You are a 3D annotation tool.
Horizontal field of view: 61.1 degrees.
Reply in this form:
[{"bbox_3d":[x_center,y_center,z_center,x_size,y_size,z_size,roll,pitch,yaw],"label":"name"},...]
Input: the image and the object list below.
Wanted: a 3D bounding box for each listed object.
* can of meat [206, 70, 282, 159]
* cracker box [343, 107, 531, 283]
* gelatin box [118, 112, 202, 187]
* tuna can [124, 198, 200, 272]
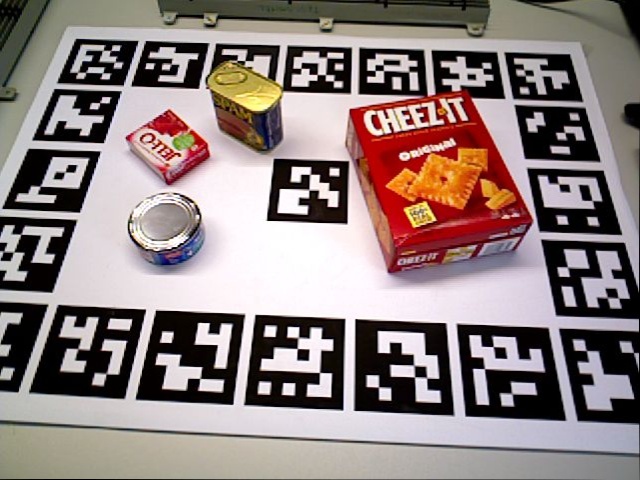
[{"bbox_3d":[-0.100,-0.167,0.736,0.102,0.085,0.056,29,60,18],"label":"can of meat"},{"bbox_3d":[0.136,-0.064,0.677,0.162,0.073,0.211,-10,57,-9],"label":"cracker box"},{"bbox_3d":[-0.214,-0.124,0.731,0.089,0.031,0.072,41,63,20],"label":"gelatin box"},{"bbox_3d":[-0.188,-0.006,0.651,0.085,0.034,0.084,-1,61,0],"label":"tuna can"}]
